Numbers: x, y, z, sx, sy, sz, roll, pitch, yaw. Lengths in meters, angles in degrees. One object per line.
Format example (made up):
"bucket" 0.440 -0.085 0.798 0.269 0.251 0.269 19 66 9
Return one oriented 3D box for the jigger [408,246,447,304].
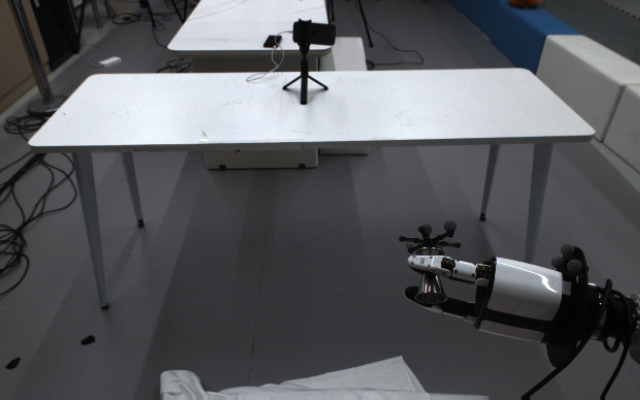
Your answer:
"jigger" 0.152 0.103 0.677 0.043 0.043 0.071 5 60 4
